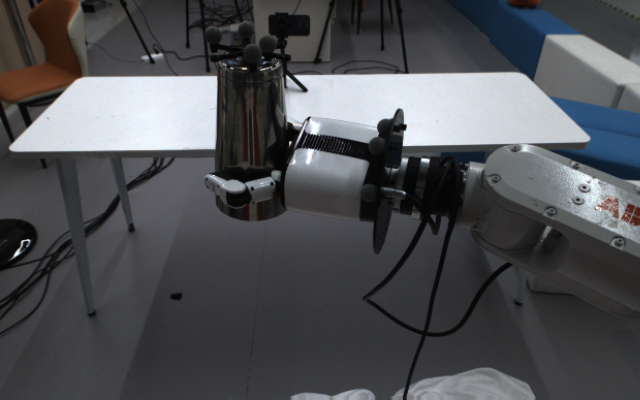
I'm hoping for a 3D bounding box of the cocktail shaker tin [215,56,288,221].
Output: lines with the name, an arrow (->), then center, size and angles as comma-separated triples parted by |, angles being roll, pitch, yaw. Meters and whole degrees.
cocktail shaker tin -> -0.074, -0.071, 0.540 | 0.093, 0.170, 0.093 | 3, 34, -2
